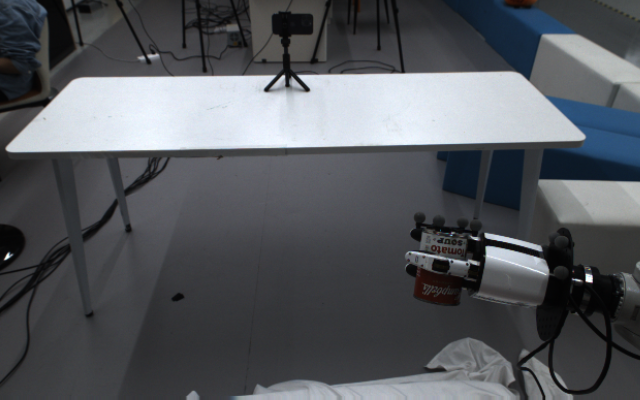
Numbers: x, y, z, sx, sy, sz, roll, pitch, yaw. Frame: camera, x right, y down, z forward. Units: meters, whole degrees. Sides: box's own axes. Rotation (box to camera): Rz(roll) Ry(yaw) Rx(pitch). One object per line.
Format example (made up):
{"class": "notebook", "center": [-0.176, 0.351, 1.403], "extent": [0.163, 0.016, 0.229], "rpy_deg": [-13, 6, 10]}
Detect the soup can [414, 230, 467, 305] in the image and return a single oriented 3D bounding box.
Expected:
{"class": "soup can", "center": [0.178, 0.095, 0.706], "extent": [0.067, 0.101, 0.067], "rpy_deg": [7, 3, 0]}
